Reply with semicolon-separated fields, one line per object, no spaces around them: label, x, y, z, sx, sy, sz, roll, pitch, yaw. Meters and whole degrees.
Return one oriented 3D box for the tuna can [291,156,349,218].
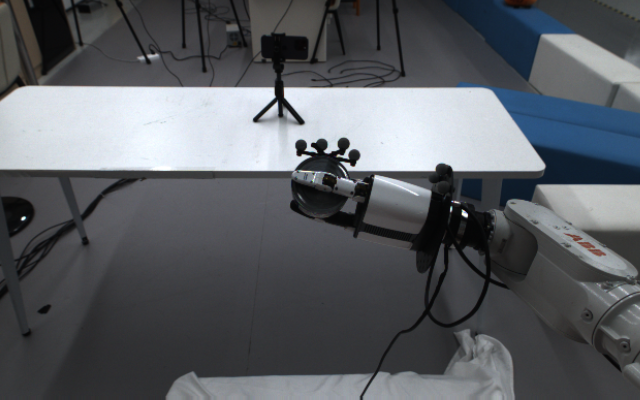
tuna can;0.001;-0.020;0.696;0.085;0.034;0.085;1;73;-3
